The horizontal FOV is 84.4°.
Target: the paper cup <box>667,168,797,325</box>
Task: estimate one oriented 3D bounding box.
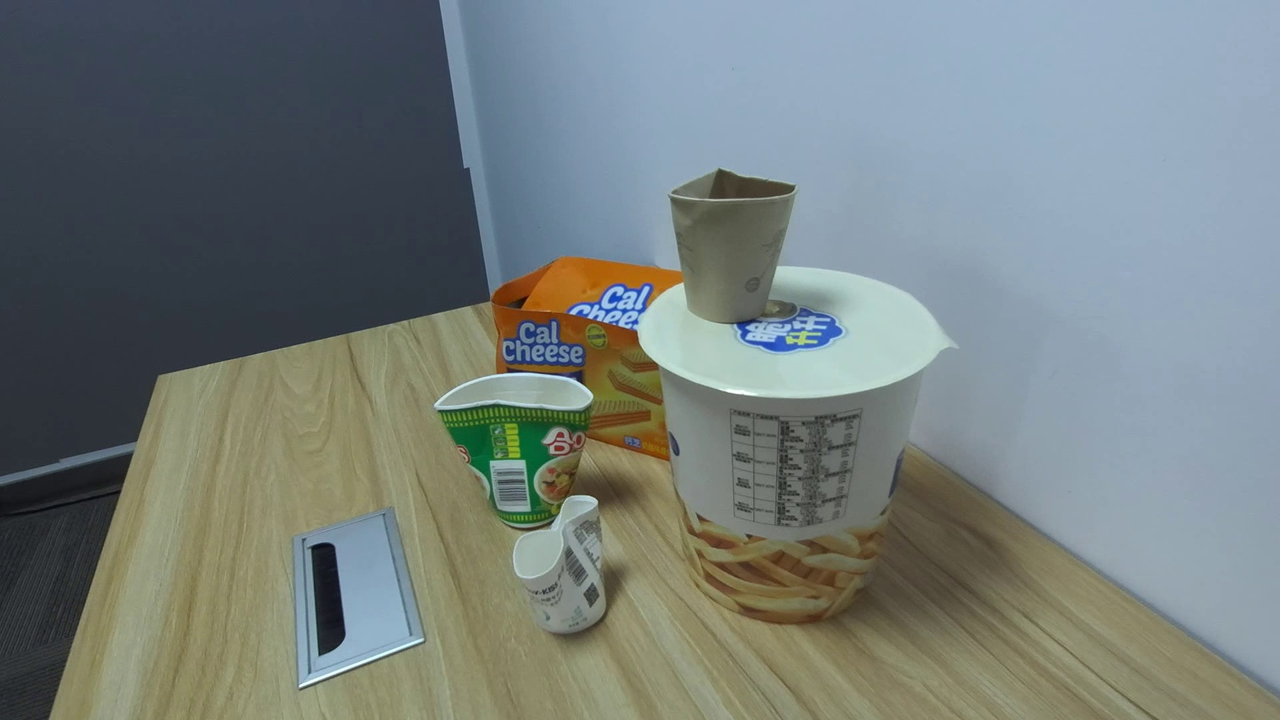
[{"bbox_3d":[0.058,-0.071,0.452,0.071,0.084,0.066,19,36,30],"label":"paper cup"}]

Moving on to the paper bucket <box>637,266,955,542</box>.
[{"bbox_3d":[0.098,0.058,0.495,0.198,0.195,0.198,-3,29,2],"label":"paper bucket"}]

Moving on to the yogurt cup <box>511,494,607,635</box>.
[{"bbox_3d":[-0.052,0.144,0.486,0.053,0.071,0.075,-3,30,1],"label":"yogurt cup"}]

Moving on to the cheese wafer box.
[{"bbox_3d":[-0.029,-0.006,0.720,0.229,0.132,0.152,15,33,22],"label":"cheese wafer box"}]

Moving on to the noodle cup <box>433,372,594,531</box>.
[{"bbox_3d":[-0.093,0.074,0.580,0.114,0.111,0.070,11,34,27],"label":"noodle cup"}]
